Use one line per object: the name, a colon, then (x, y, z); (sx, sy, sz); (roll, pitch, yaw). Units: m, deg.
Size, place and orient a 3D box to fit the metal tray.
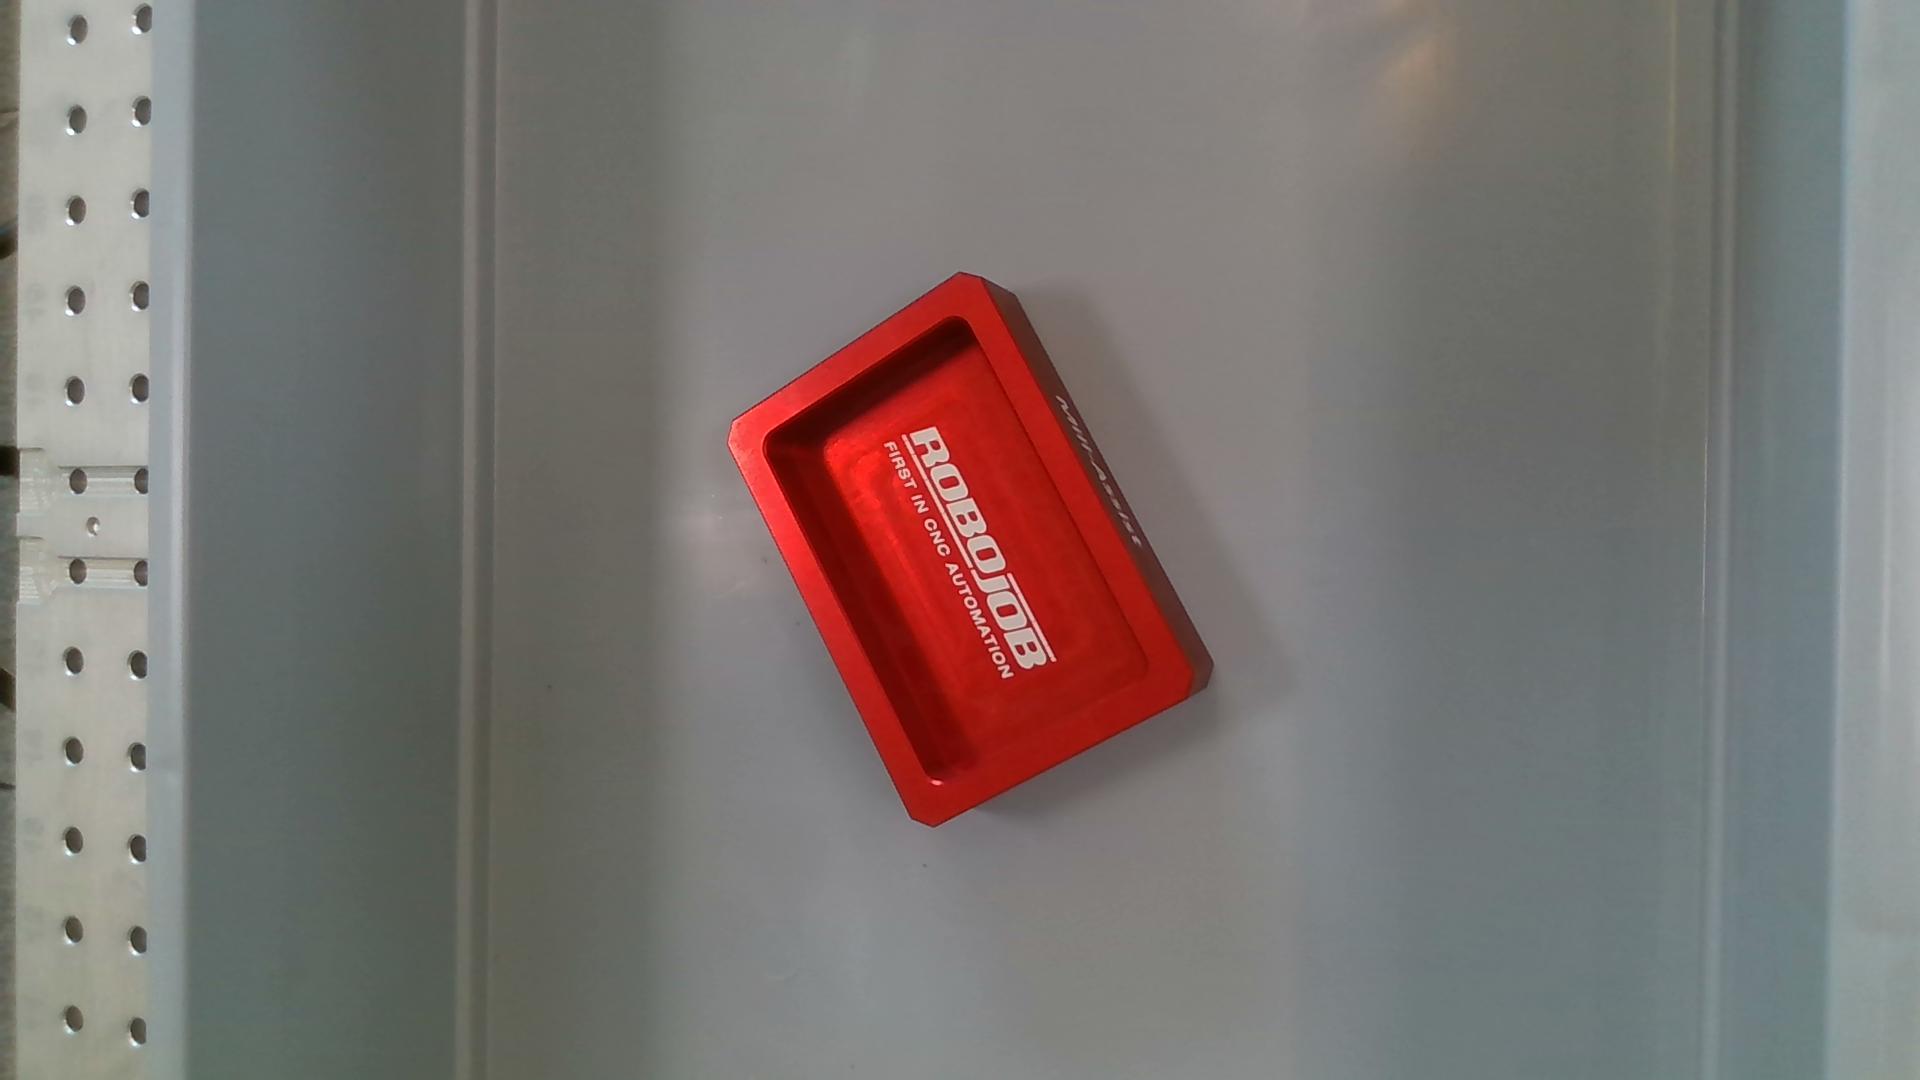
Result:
metal tray: (0.001, 0.003, 0.388); (0.090, 0.030, 0.130); (-30, 81, 18)
